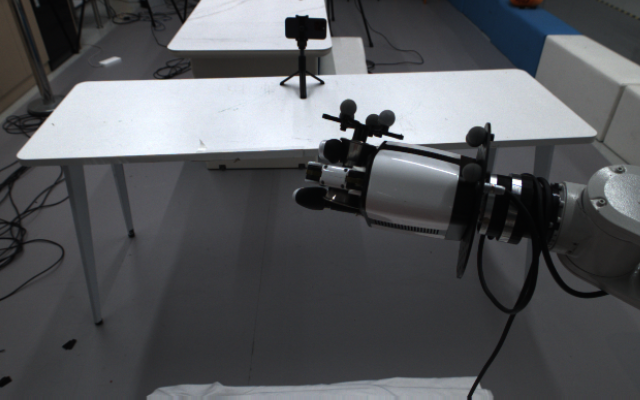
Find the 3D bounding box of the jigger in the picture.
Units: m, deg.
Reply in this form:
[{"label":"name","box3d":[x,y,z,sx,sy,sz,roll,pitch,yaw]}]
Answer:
[{"label":"jigger","box3d":[0.030,-0.031,0.520,0.043,0.071,0.043,16,2,-1]}]
